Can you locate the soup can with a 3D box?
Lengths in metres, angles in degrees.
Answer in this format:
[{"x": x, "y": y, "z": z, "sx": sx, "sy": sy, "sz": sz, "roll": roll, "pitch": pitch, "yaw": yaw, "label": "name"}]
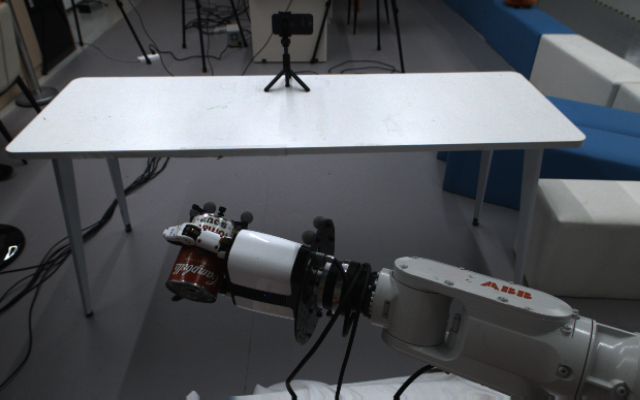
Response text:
[{"x": -0.152, "y": 0.077, "z": 0.638, "sx": 0.067, "sy": 0.067, "sz": 0.101, "roll": 9, "pitch": 58, "yaw": 10, "label": "soup can"}]
